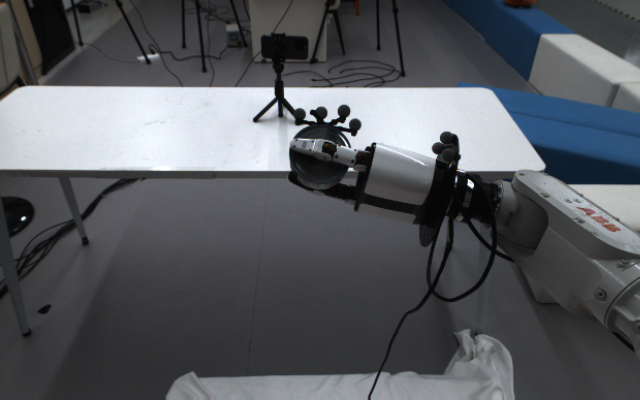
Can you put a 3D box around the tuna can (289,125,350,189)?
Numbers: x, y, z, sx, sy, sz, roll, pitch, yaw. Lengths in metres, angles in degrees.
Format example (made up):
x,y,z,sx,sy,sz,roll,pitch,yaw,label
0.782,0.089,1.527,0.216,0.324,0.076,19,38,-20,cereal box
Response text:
x,y,z,sx,sy,sz,roll,pitch,yaw,label
0.000,-0.060,0.668,0.085,0.034,0.085,1,73,-3,tuna can
